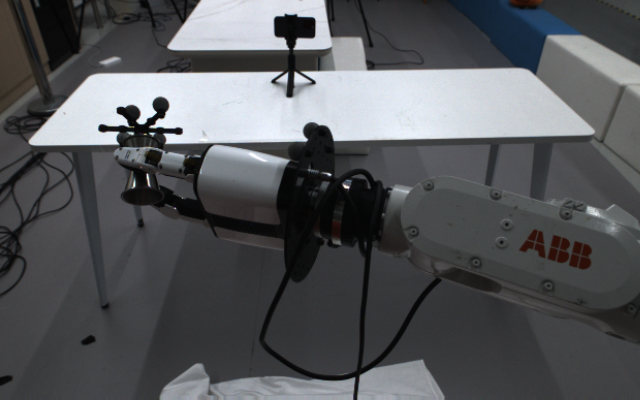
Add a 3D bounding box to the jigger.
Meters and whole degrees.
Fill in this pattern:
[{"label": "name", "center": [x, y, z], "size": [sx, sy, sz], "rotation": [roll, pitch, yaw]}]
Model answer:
[{"label": "jigger", "center": [-0.194, -0.033, 0.532], "size": [0.043, 0.043, 0.071], "rotation": [-6, 68, -11]}]
